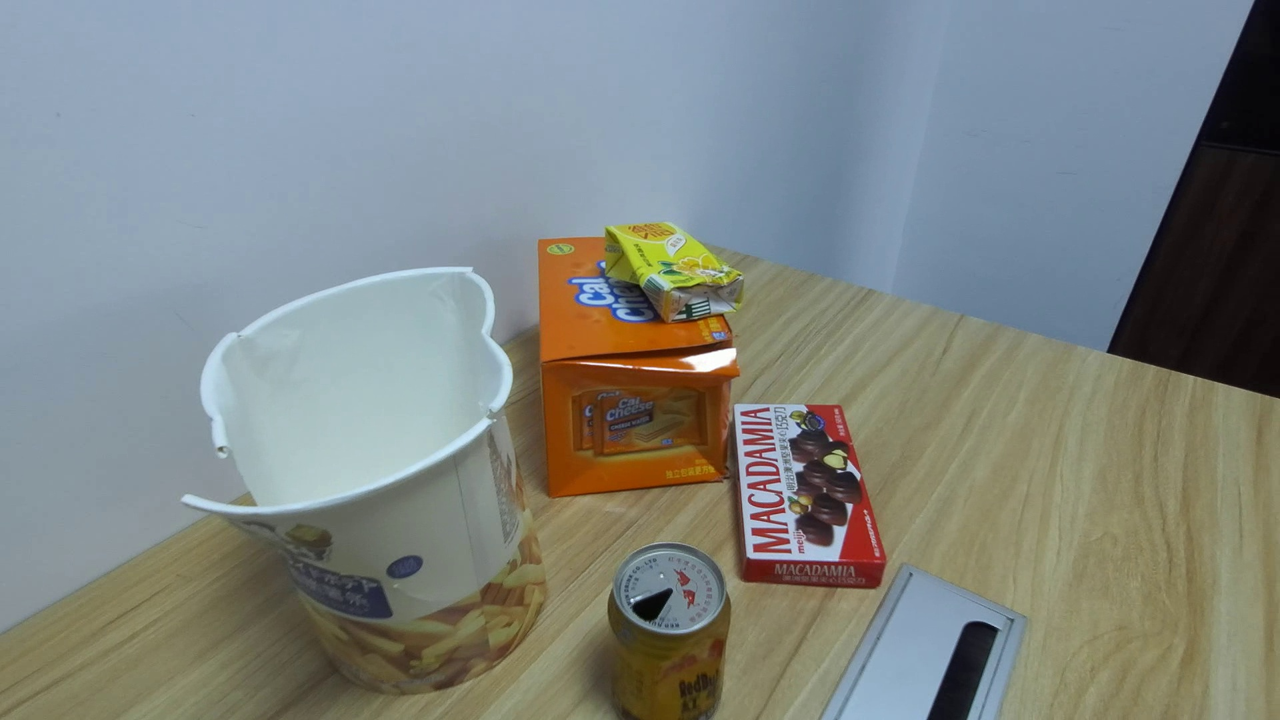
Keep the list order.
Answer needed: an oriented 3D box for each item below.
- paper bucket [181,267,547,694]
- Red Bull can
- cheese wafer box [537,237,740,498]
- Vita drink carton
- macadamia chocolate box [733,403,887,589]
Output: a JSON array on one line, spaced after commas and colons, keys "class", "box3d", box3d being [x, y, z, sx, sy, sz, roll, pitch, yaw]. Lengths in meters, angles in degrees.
[{"class": "paper bucket", "box3d": [-0.139, 0.078, 0.418, 0.146, 0.197, 0.202, -13, 34, -16]}, {"class": "Red Bull can", "box3d": [0.017, 0.155, 0.393, 0.068, 0.093, 0.068, 0, 33, 0]}, {"class": "cheese wafer box", "box3d": [-0.011, -0.008, 0.614, 0.150, 0.137, 0.226, -3, 31, -7]}, {"class": "Vita drink carton", "box3d": [0.024, -0.068, 0.556, 0.087, 0.042, 0.108, -9, 36, -29]}, {"class": "macadamia chocolate box", "box3d": [0.122, 0.097, 0.547, 0.095, 0.027, 0.177, 1, 32, 4]}]
